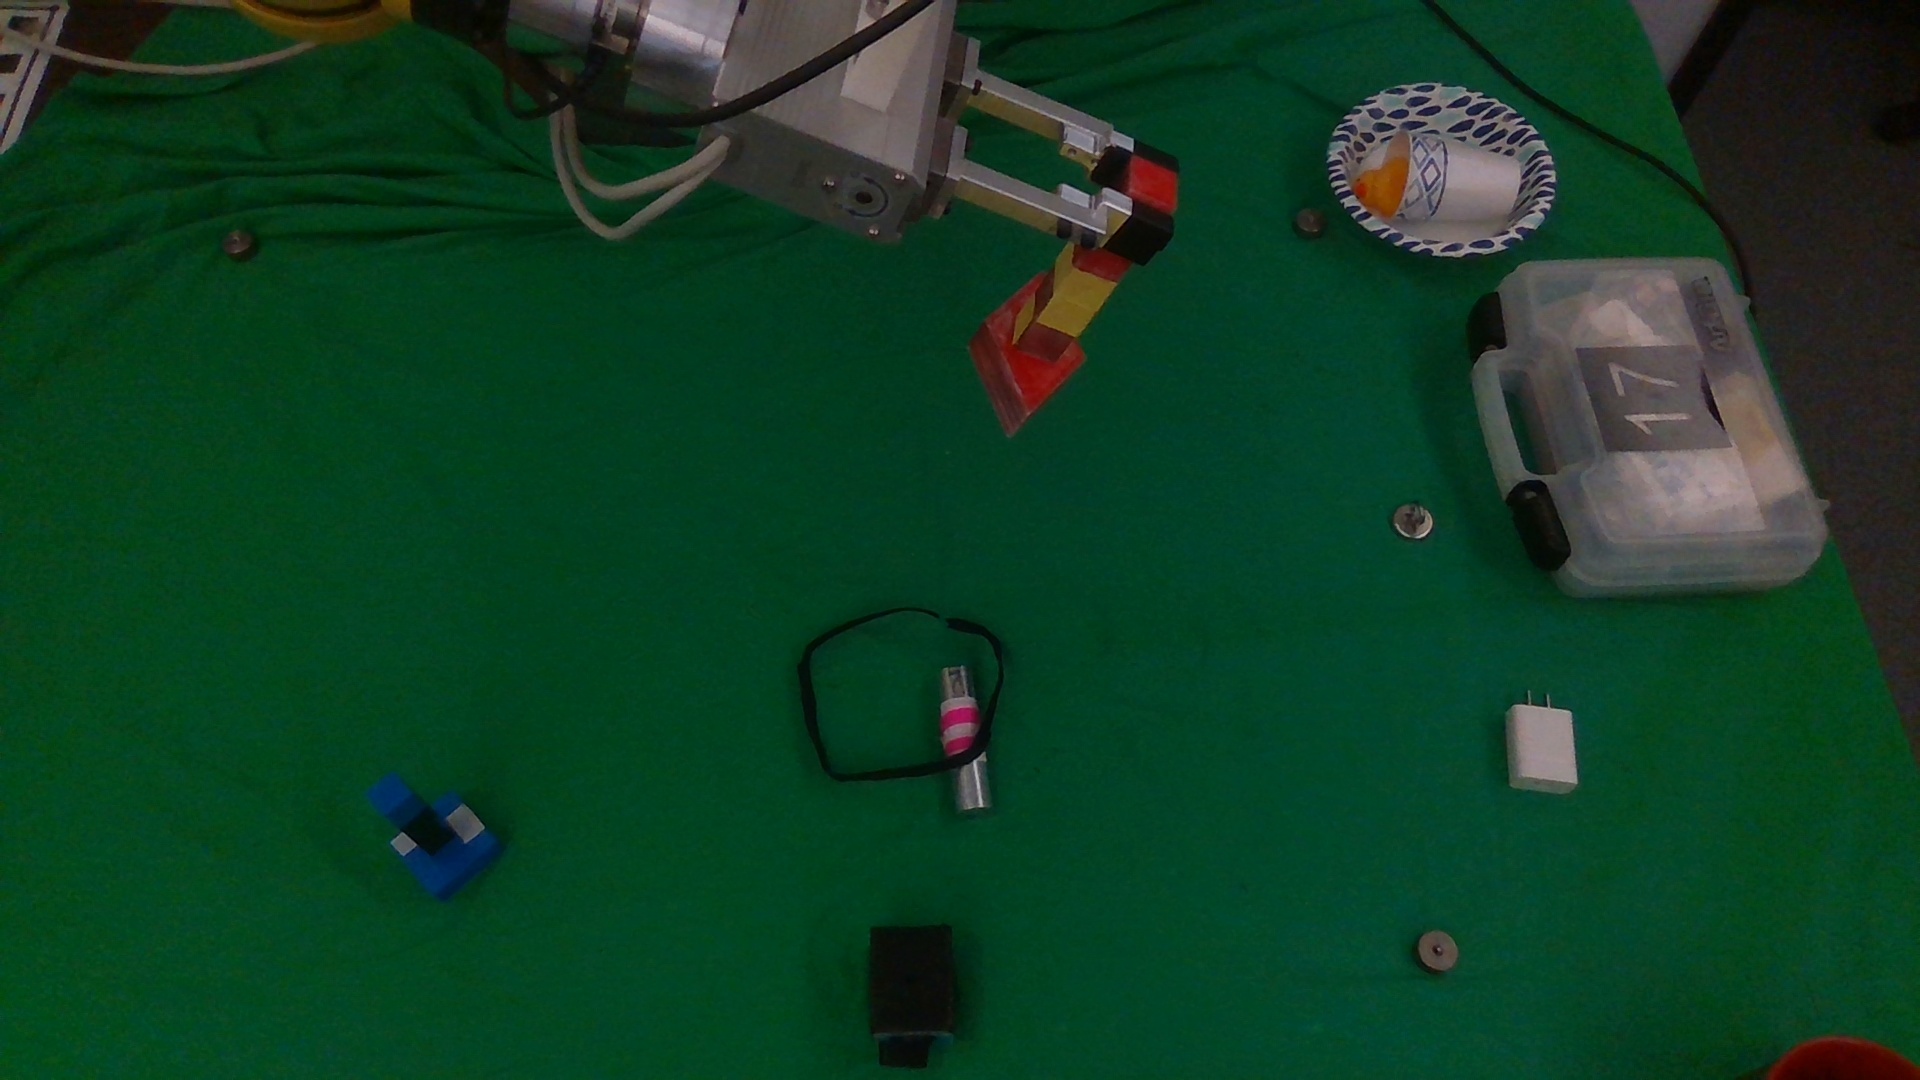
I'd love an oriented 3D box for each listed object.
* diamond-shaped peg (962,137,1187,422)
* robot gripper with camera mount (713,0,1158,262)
[{"bbox_3d":[0.048,-0.110,0.558,0.045,0.122,0.074,-8,65,-33],"label":"diamond-shaped peg"},{"bbox_3d":[0.033,-0.199,0.456,0.158,0.194,0.119,19,46,-17],"label":"robot gripper with camera mount"}]
